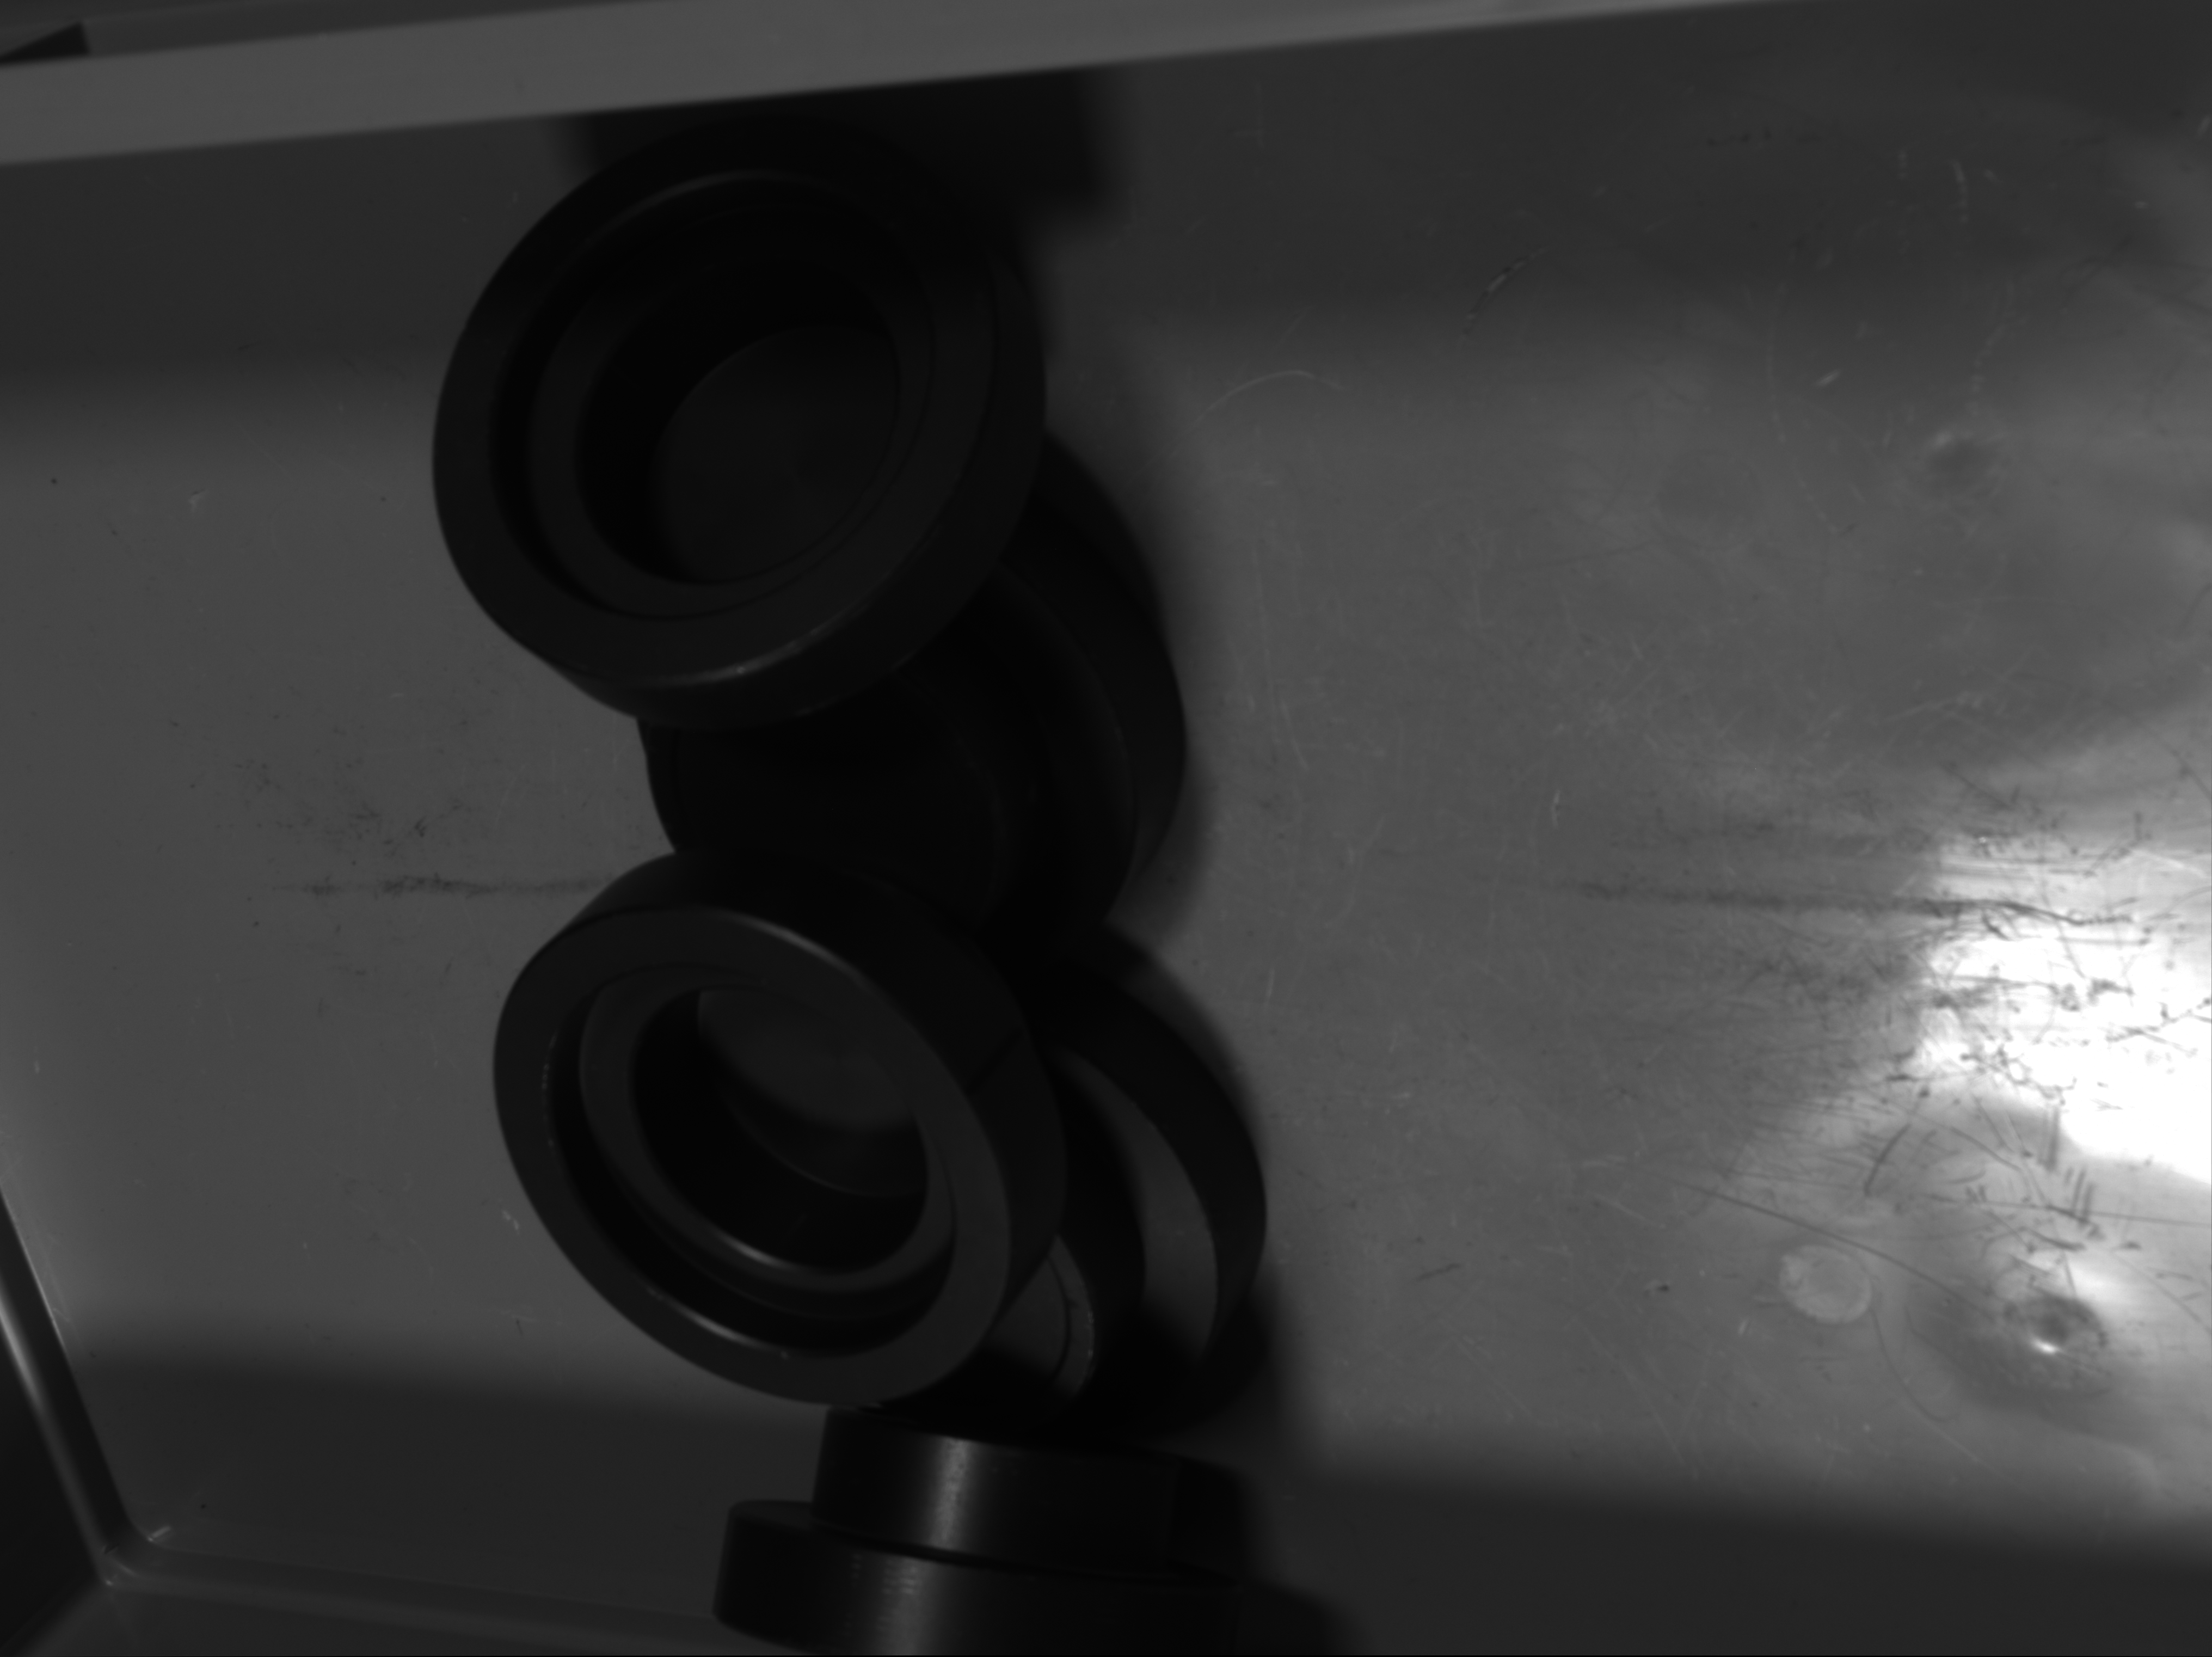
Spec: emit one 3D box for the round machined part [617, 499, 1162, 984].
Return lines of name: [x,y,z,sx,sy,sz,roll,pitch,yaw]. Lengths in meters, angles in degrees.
round machined part: [-0.043,-0.013,0.632,0.098,0.042,0.098,12,123,20]

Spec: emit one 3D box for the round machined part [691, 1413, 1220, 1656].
round machined part: [-0.026,0.135,0.690,0.098,0.098,0.042,6,83,24]

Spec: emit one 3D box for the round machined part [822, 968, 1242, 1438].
round machined part: [-0.028,0.073,0.676,0.098,0.042,0.098,12,123,20]

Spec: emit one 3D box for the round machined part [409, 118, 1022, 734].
round machined part: [-0.059,-0.061,0.588,0.098,0.098,0.042,7,163,23]

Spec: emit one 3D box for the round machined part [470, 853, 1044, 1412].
round machined part: [-0.055,0.047,0.619,0.098,0.042,0.098,12,123,20]
